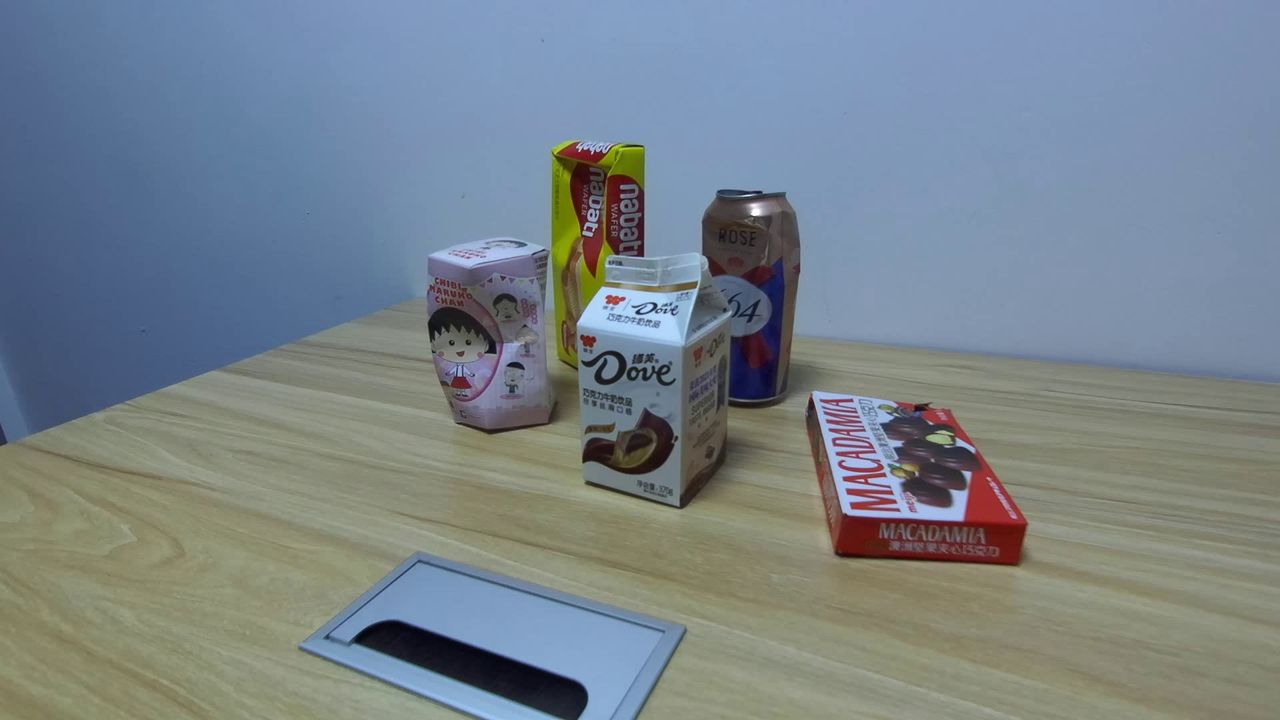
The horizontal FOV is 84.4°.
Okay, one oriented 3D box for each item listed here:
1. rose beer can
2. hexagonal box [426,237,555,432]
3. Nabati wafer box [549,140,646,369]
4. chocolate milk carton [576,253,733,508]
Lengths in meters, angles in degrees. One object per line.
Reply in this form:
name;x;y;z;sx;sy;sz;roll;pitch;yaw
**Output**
rose beer can;0.088;-0.050;0.562;0.065;0.167;0.075;-12;21;-29
hexagonal box;-0.112;-0.021;0.552;0.089;0.134;0.093;-2;21;2
Nabati wafer box;-0.039;-0.086;0.626;0.042;0.203;0.096;-14;25;-32
chocolate milk carton;0.010;0.005;0.444;0.075;0.148;0.074;11;24;27
